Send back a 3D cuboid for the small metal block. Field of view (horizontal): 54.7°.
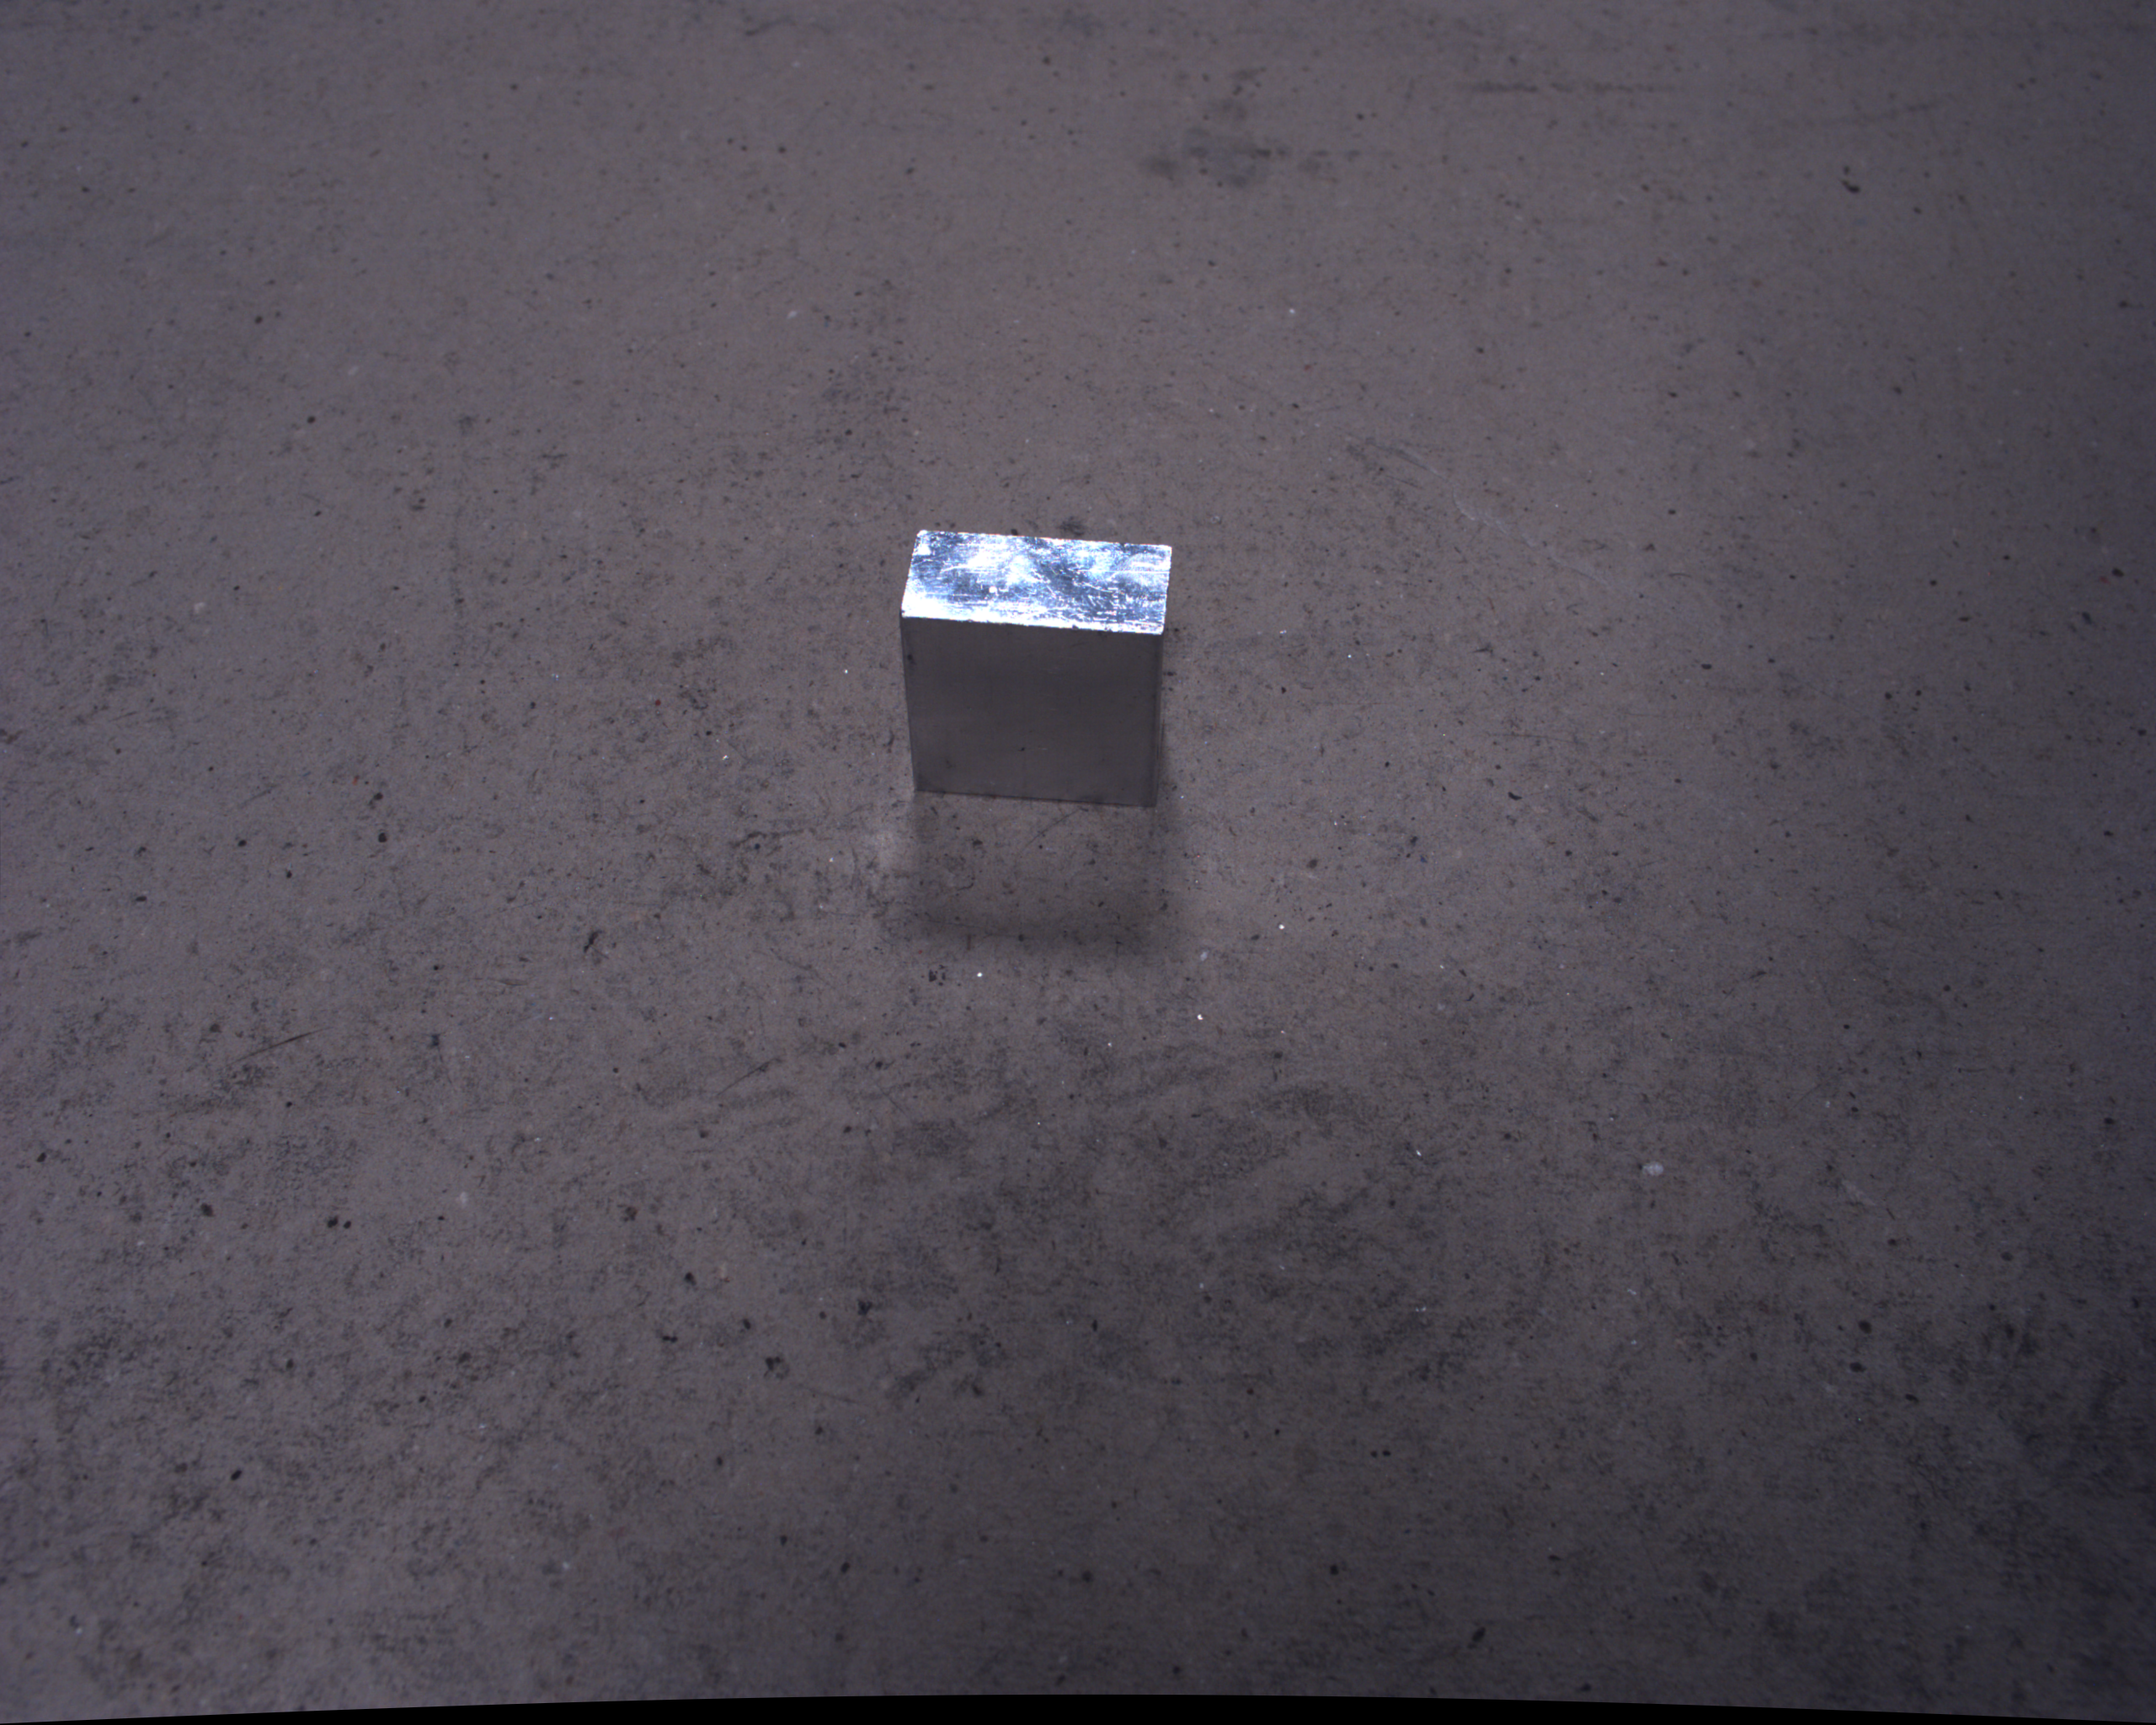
[{"bbox_3d":[-0.008,-0.039,0.420,0.050,0.050,0.025,4,50,3],"label":"small metal block"}]
